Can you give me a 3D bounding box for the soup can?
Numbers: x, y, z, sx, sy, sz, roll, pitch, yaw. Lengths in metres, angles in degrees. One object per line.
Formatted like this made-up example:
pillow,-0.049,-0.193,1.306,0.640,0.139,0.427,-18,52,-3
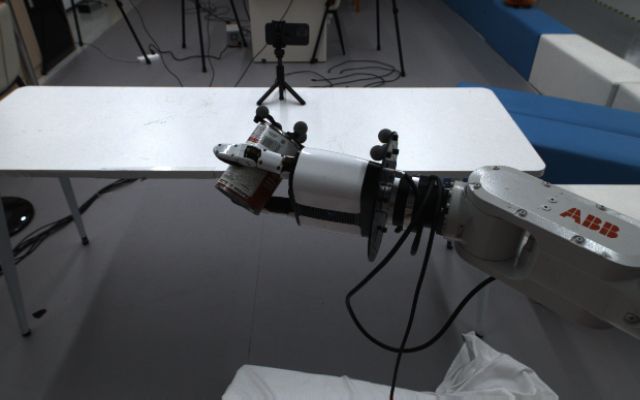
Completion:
soup can,-0.078,-0.040,0.624,0.067,0.067,0.101,27,78,31
